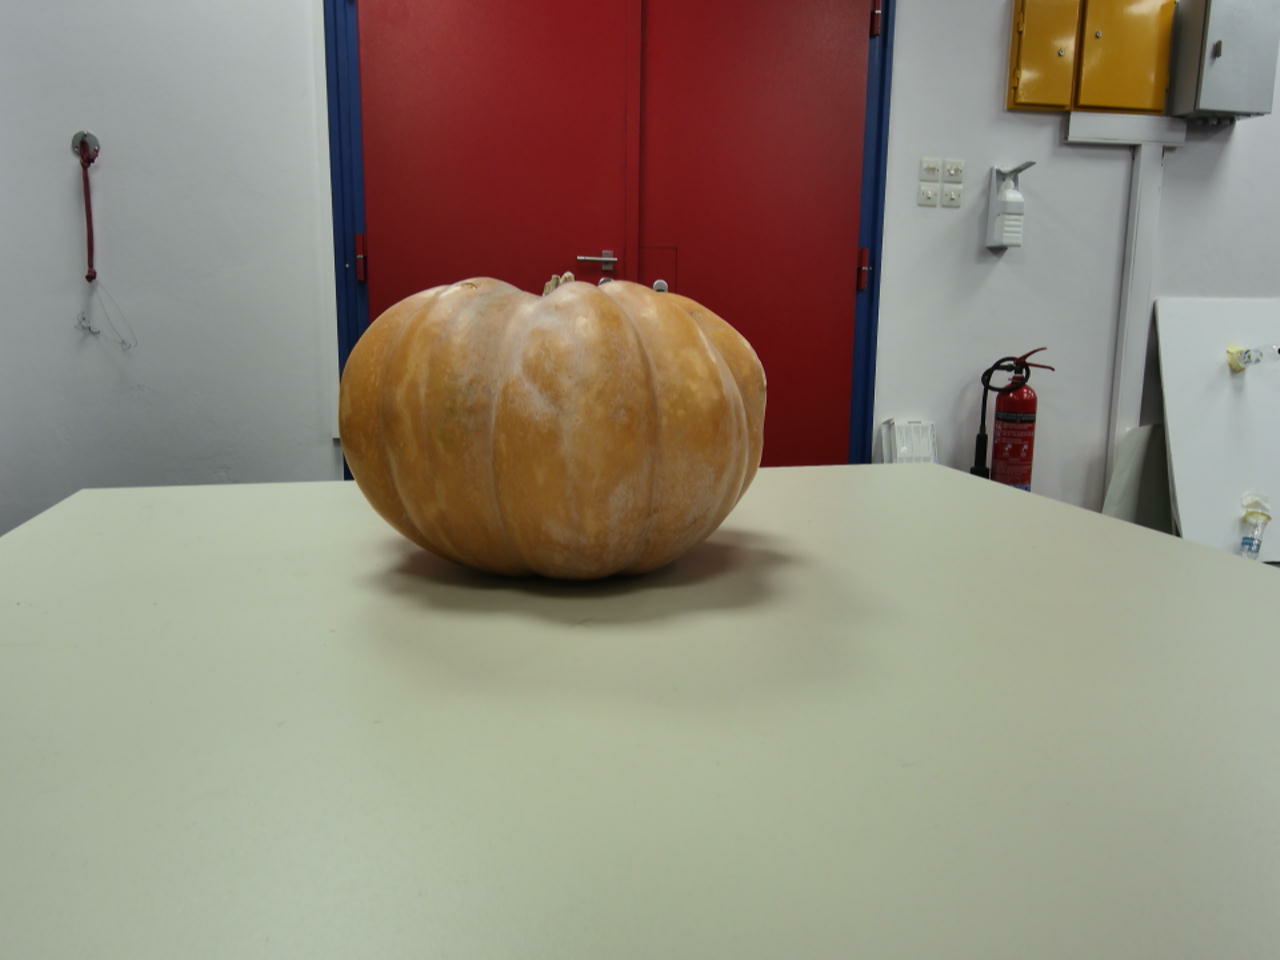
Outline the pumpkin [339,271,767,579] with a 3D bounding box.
[{"bbox_3d":[-0.050,-0.037,0.621,0.277,0.181,0.277,0,8,0],"label":"pumpkin"}]
